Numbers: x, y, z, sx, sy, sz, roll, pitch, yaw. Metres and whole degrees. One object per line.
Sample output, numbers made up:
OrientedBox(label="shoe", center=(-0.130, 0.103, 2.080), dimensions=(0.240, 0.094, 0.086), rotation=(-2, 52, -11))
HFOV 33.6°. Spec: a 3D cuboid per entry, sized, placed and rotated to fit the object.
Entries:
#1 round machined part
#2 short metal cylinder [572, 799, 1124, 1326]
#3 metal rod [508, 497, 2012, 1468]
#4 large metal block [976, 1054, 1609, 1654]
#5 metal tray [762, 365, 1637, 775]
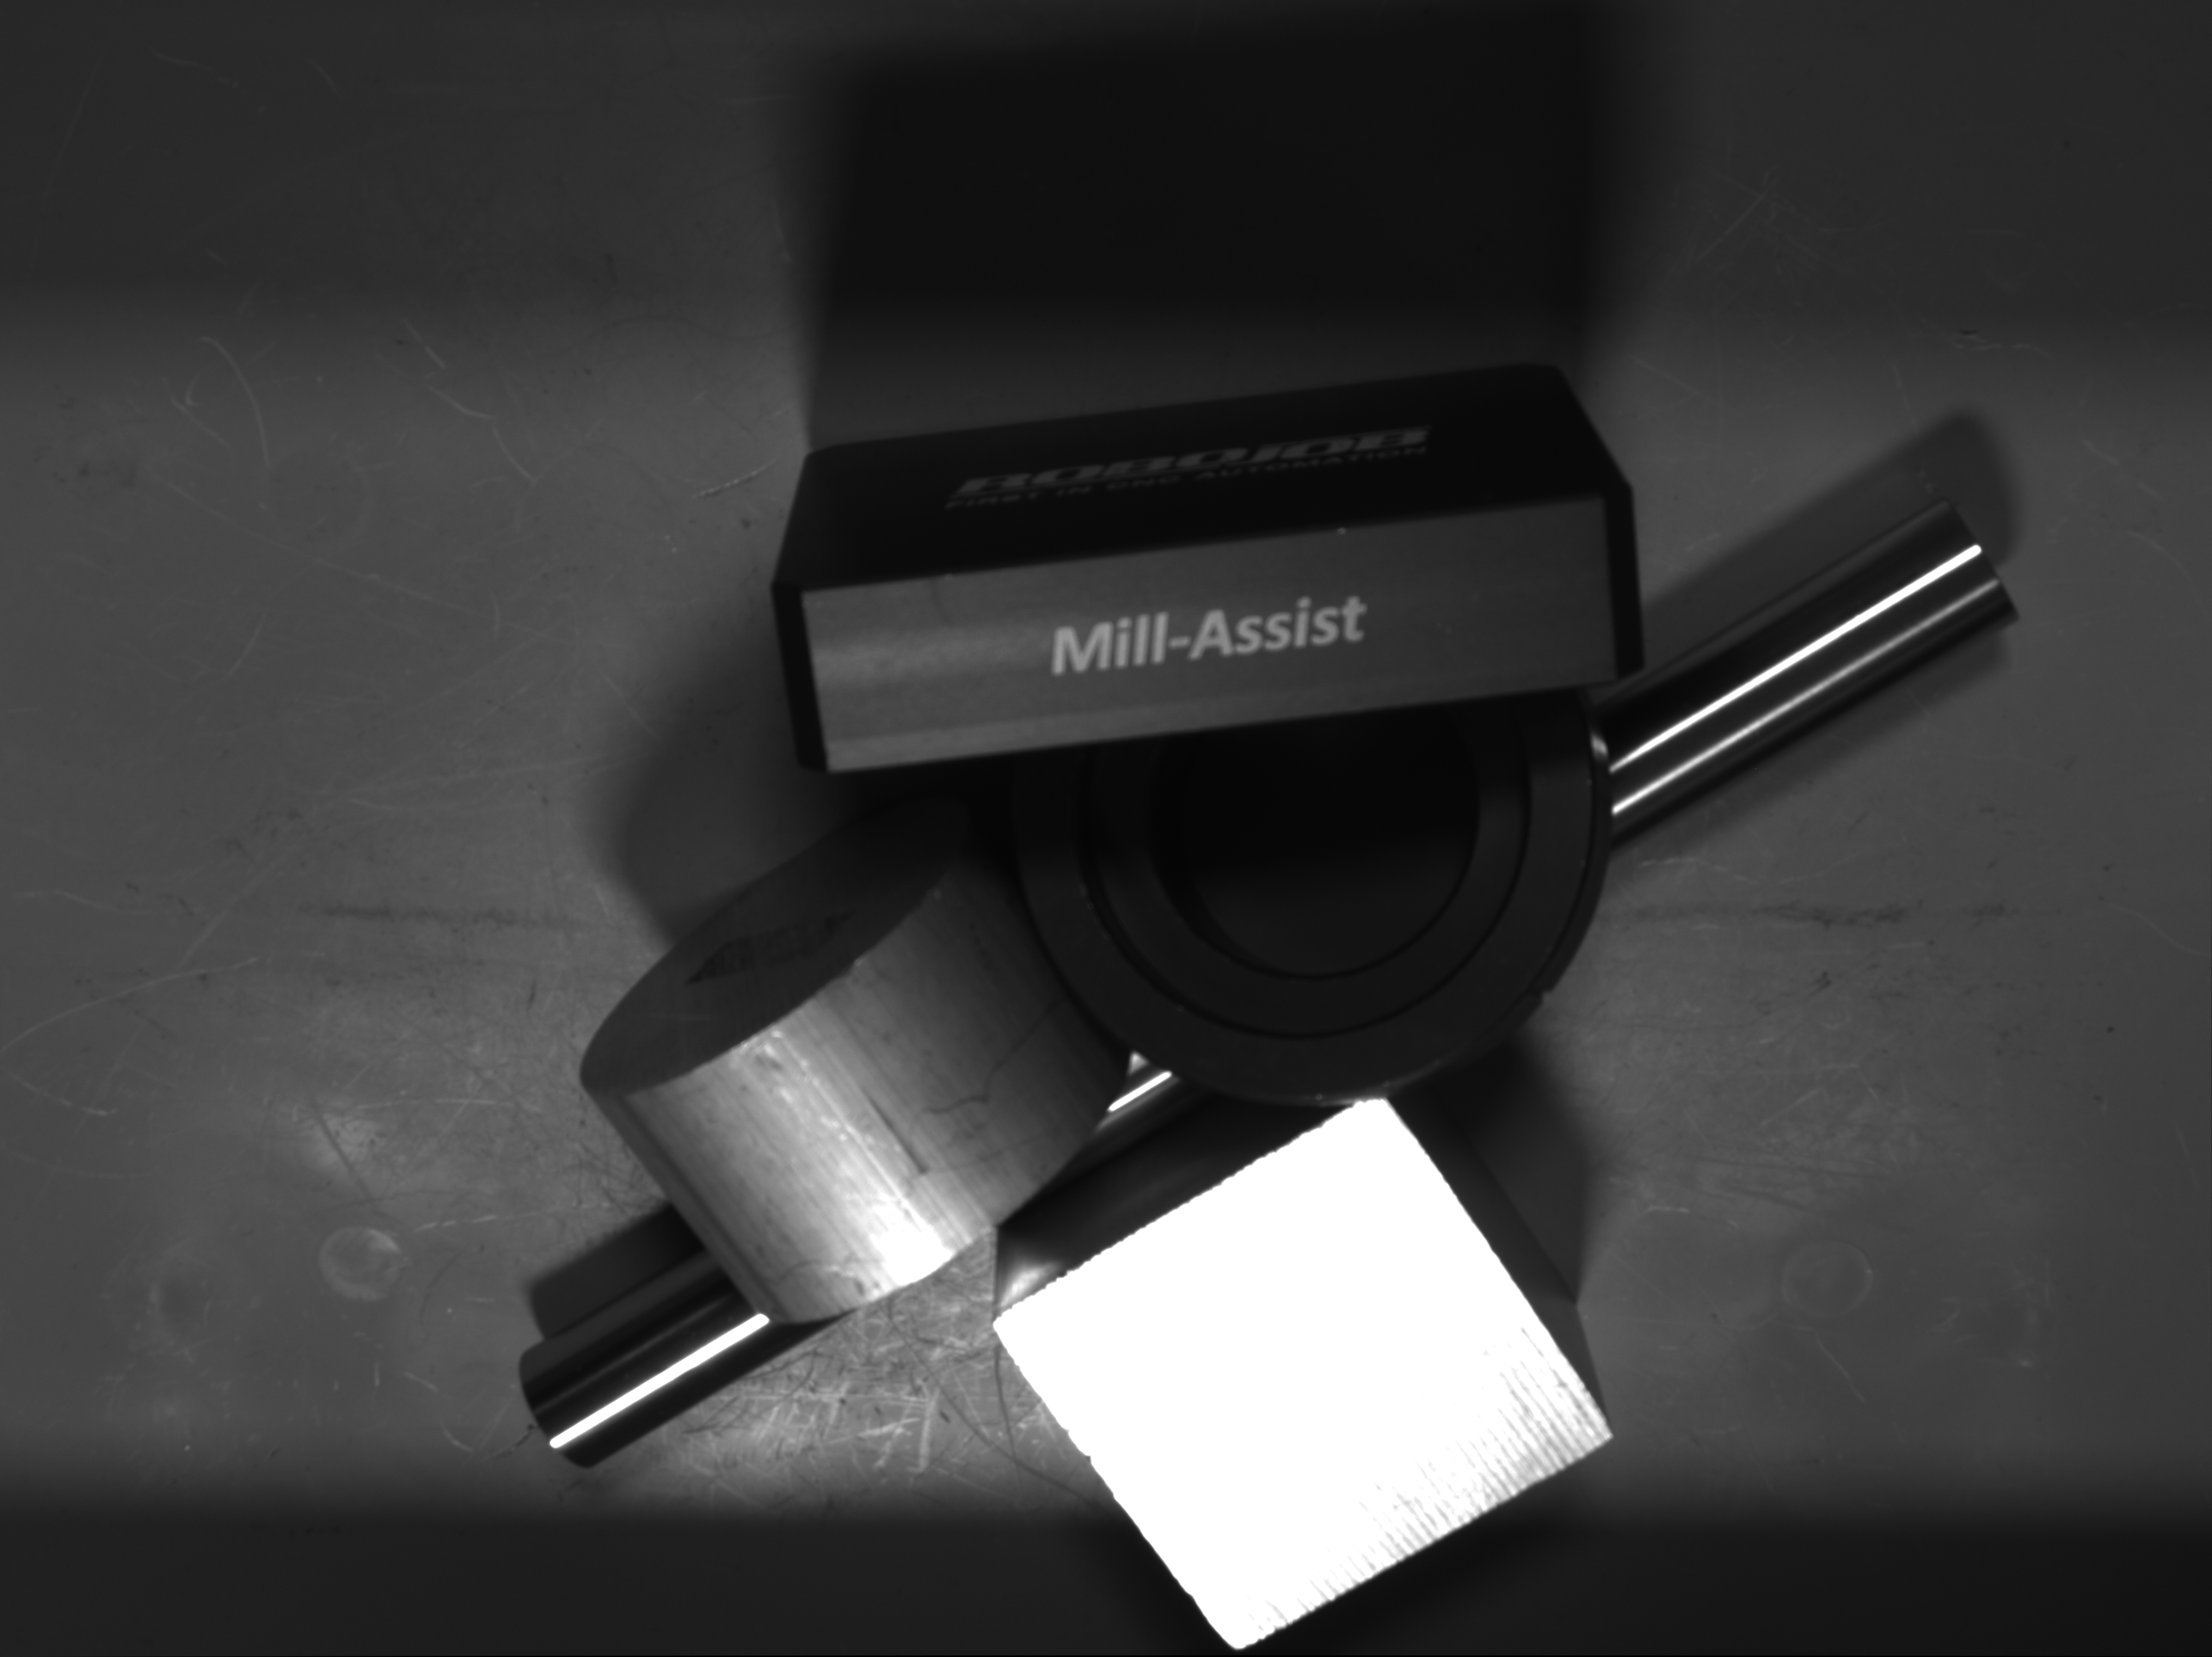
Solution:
OrientedBox(label="round machined part", center=(0.036, -0.002, 0.618), dimensions=(0.098, 0.042, 0.098), rotation=(-1, 85, 14))
OrientedBox(label="short metal cylinder", center=(-0.044, 0.039, 0.627), dimensions=(0.080, 0.080, 0.050), rotation=(-32, 107, 10))
OrientedBox(label="metal rod", center=(0.023, 0.031, 0.653), dimensions=(0.300, 0.025, 0.025), rotation=(-31, 107, 10))
OrientedBox(label="large metal block", center=(0.033, 0.088, 0.659), dimensions=(0.080, 0.050, 0.080), rotation=(-31, 107, 10))
OrientedBox(label="metal tray", center=(0.014, -0.044, 0.591), dimensions=(0.130, 0.090, 0.030), rotation=(-6, 110, 1))
